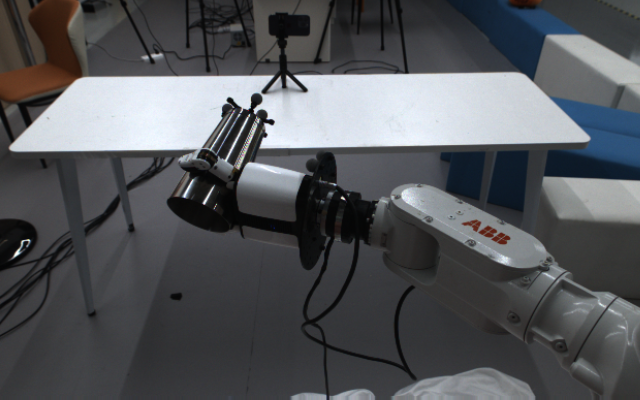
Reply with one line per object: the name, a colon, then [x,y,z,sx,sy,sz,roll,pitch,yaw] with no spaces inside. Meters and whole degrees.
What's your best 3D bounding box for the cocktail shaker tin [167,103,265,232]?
cocktail shaker tin: [-0.143,-0.048,0.698,0.093,0.093,0.170,13,61,15]
